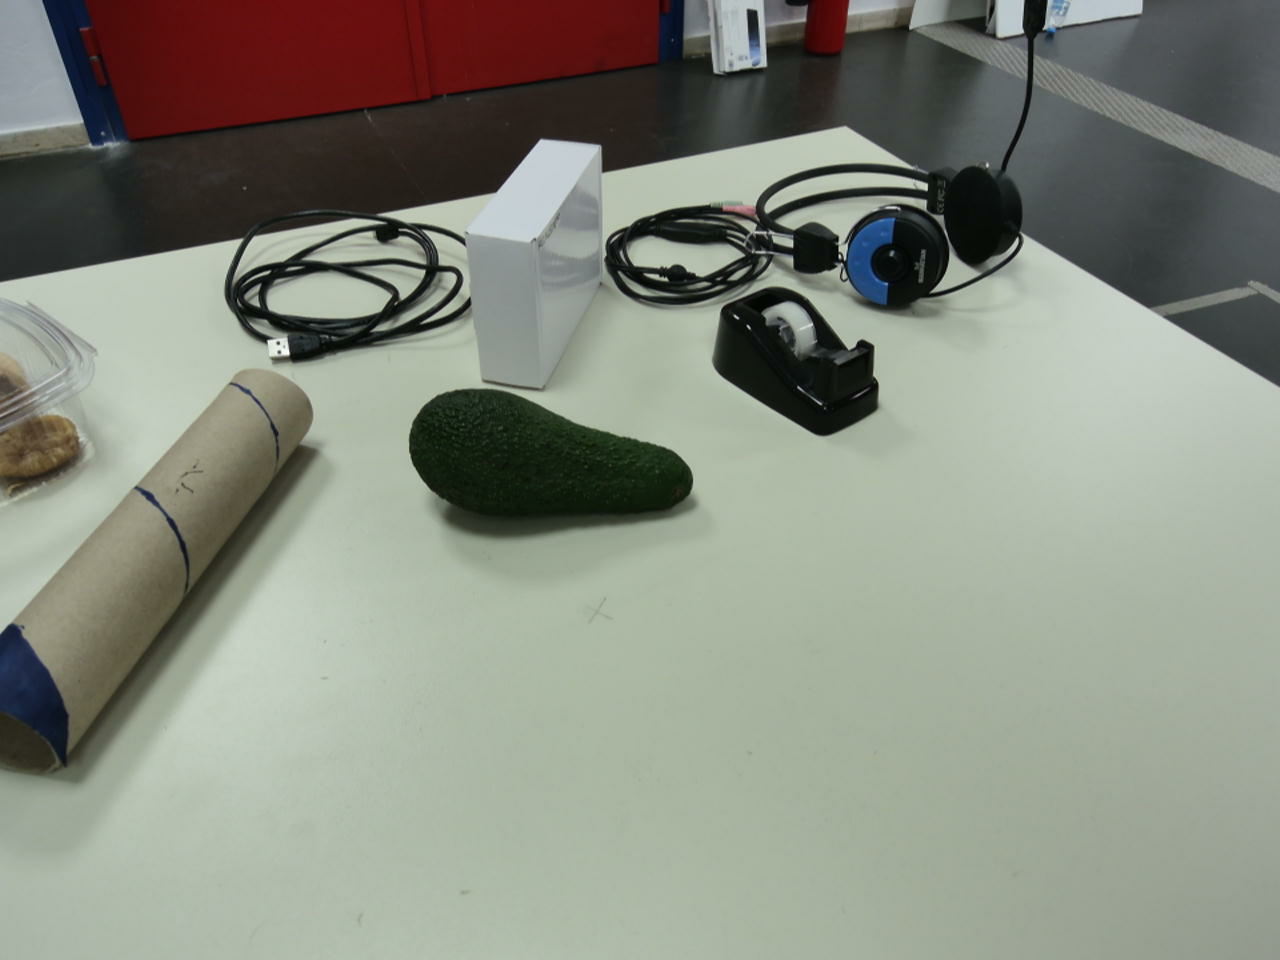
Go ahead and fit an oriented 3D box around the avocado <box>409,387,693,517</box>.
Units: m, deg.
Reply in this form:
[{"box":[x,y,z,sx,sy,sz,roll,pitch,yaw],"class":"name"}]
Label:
[{"box":[-0.043,-0.017,0.500,0.141,0.067,0.063,-6,39,-8],"class":"avocado"}]
